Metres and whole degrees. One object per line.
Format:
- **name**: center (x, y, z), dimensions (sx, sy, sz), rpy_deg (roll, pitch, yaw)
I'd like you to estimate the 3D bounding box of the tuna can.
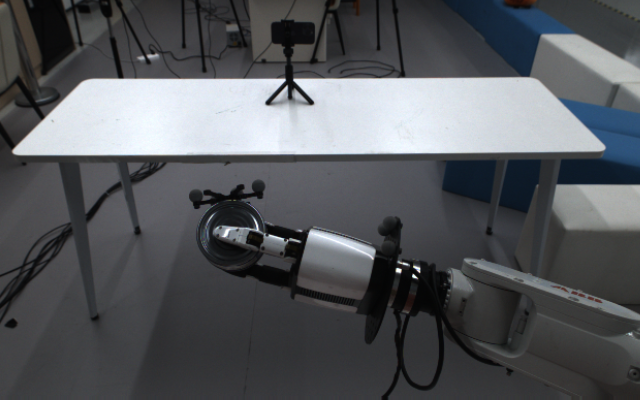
- **tuna can**: center (-0.105, 0.048, 0.595), dimensions (0.085, 0.034, 0.085), rpy_deg (0, 70, -1)
